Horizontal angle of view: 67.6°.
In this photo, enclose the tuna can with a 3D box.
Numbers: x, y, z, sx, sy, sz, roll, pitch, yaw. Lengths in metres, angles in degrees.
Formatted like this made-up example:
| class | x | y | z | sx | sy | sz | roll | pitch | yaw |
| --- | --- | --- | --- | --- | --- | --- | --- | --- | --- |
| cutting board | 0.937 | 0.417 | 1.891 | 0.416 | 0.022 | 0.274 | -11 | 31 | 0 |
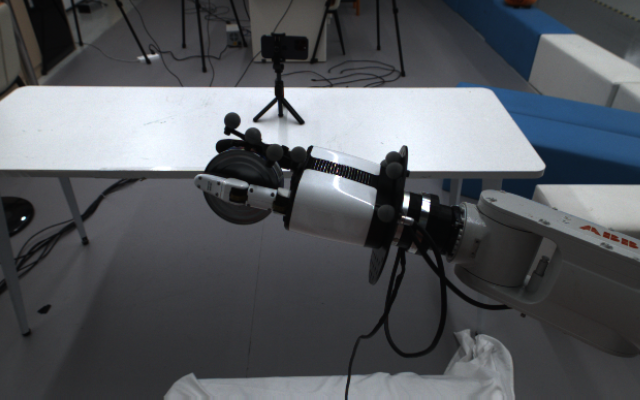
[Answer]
| class | x | y | z | sx | sy | sz | roll | pitch | yaw |
| --- | --- | --- | --- | --- | --- | --- | --- | --- | --- |
| tuna can | -0.082 | -0.018 | 0.539 | 0.085 | 0.085 | 0.034 | 7 | 16 | 7 |
